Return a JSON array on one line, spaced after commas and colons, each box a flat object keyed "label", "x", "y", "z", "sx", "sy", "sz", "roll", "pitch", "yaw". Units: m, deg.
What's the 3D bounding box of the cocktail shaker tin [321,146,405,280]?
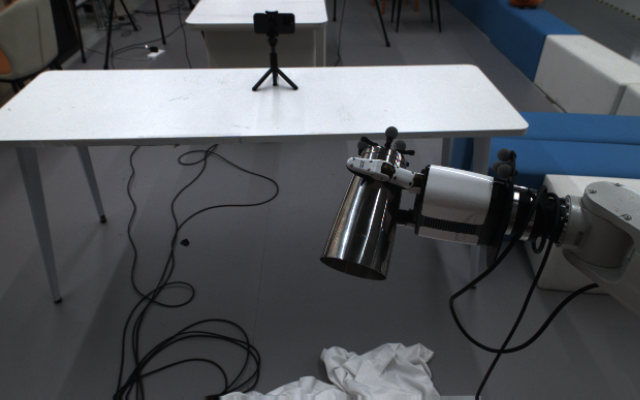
[{"label": "cocktail shaker tin", "x": 0.069, "y": 0.013, "z": 0.670, "sx": 0.093, "sy": 0.093, "sz": 0.170, "roll": 13, "pitch": 71, "yaw": 15}]
